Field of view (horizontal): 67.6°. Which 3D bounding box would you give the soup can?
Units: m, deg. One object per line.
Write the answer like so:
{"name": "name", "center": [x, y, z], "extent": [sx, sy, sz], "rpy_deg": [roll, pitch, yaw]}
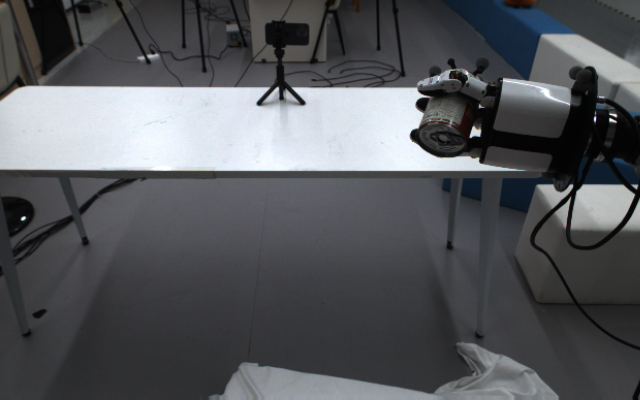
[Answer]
{"name": "soup can", "center": [0.177, -0.118, 0.654], "extent": [0.067, 0.067, 0.101], "rpy_deg": [15, 63, 18]}
